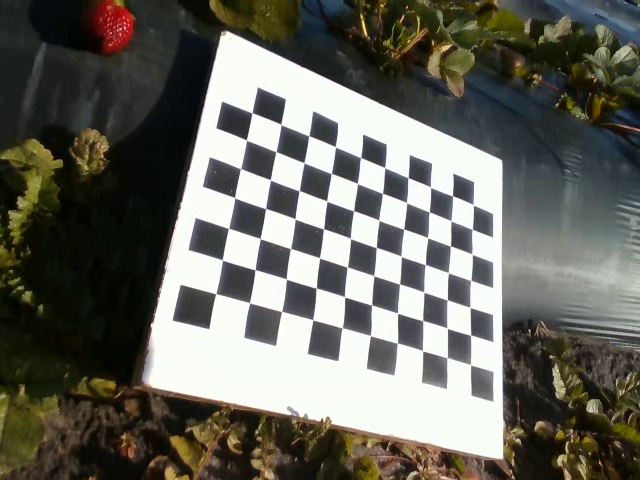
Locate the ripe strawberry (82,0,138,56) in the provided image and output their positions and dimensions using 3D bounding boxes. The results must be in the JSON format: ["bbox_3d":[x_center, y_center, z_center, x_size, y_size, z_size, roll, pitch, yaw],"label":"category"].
[{"bbox_3d":[-0.141,-0.138,0.406,0.040,0.044,0.037,-2,-30,-30],"label":"ripe strawberry"}]
